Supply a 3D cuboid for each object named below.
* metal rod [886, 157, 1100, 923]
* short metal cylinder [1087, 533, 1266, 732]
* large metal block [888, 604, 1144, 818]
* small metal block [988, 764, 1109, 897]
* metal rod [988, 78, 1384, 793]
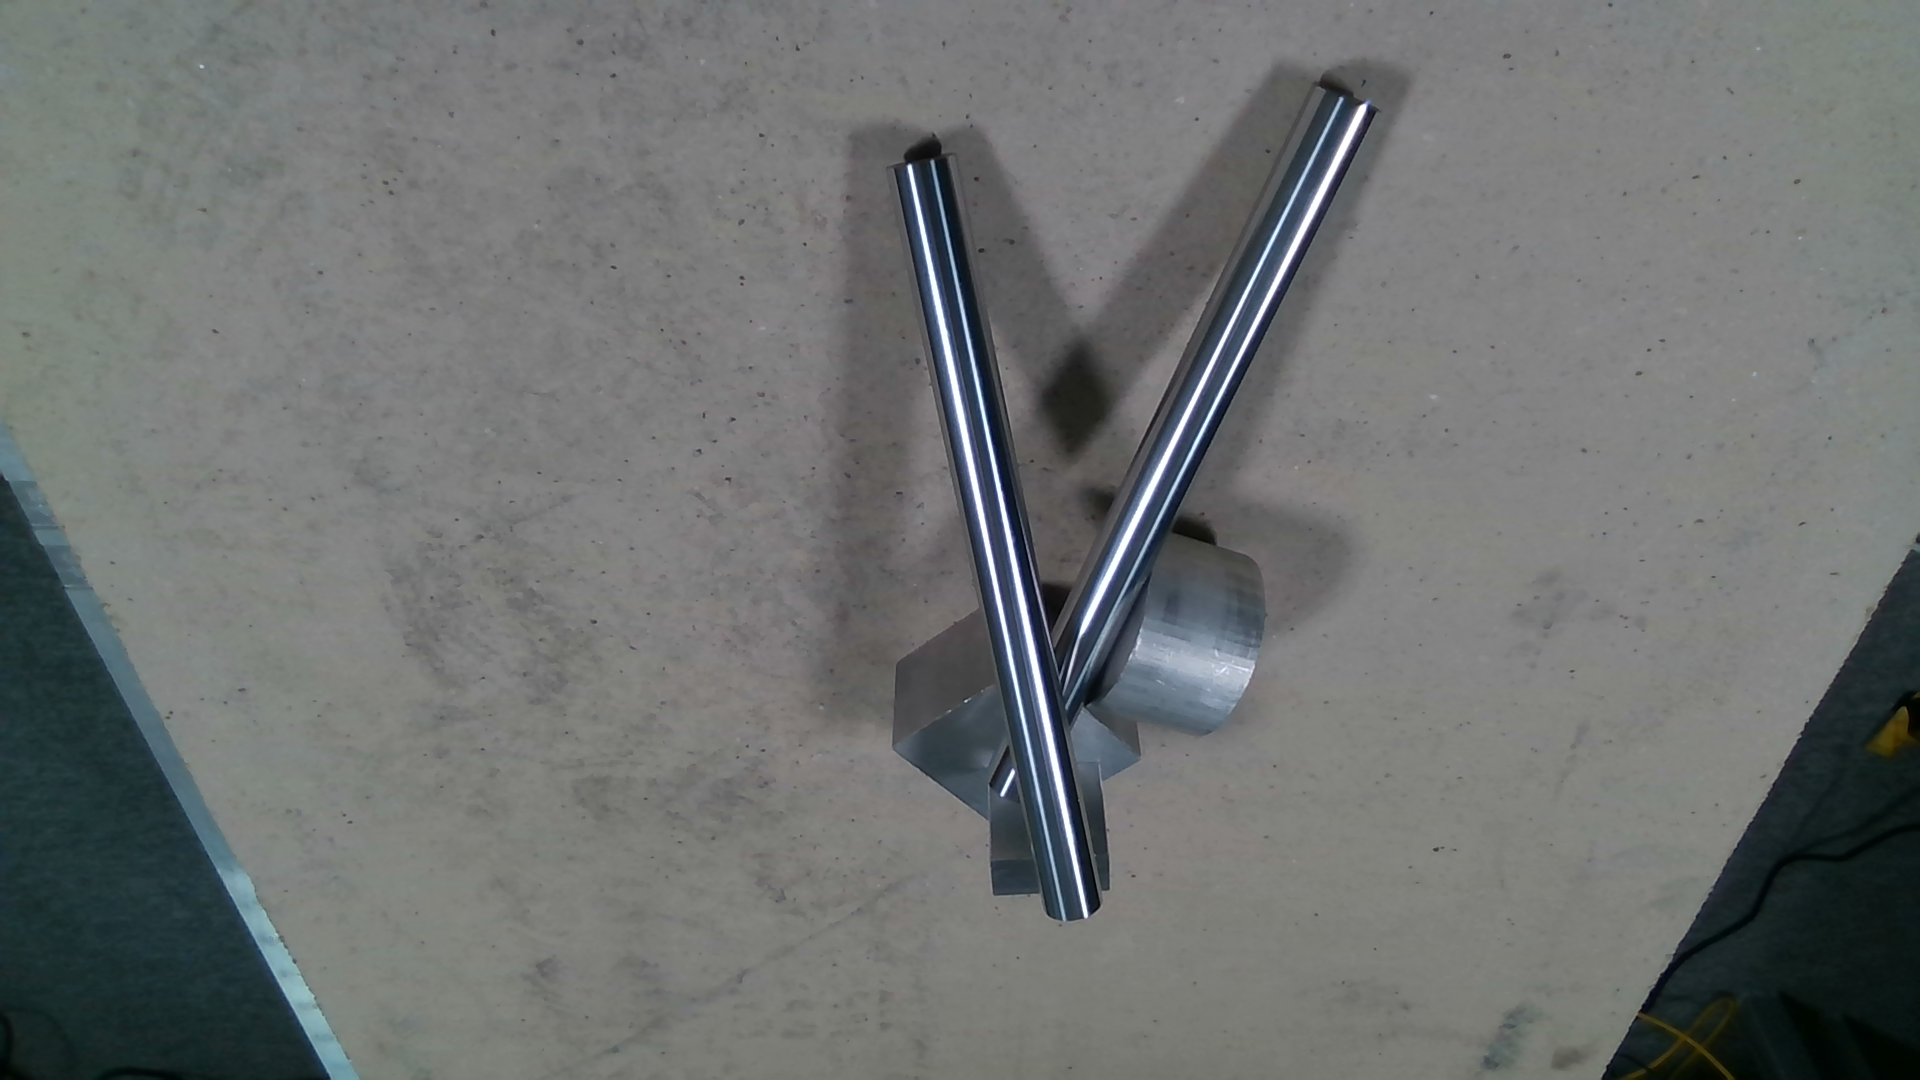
[{"bbox_3d":[0.016,0.011,0.519,0.025,0.025,0.301,-9,109,8],"label":"metal rod"},{"bbox_3d":[0.085,0.037,0.576,0.050,0.080,0.080,16,128,-13],"label":"short metal cylinder"},{"bbox_3d":[0.025,0.078,0.627,0.080,0.050,0.080,-34,121,25],"label":"large metal block"},{"bbox_3d":[0.038,0.126,0.600,0.050,0.050,0.025,-3,129,3],"label":"small metal block"},{"bbox_3d":[0.076,-0.024,0.522,0.025,0.025,0.301,16,117,-13],"label":"metal rod"}]
